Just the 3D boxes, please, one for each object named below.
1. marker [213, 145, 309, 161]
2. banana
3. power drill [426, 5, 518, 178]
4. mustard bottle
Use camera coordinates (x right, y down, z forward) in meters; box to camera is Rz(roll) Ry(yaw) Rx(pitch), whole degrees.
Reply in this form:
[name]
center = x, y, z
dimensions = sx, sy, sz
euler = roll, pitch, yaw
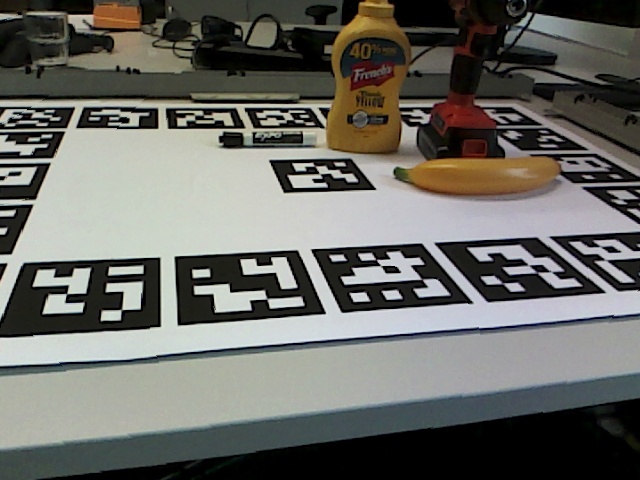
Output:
[marker]
center = -0.075, -0.111, 0.788
dimensions = 0.121, 0.019, 0.020
euler = -2, 32, -11
[banana]
center = 0.177, -0.046, 0.696
dimensions = 0.197, 0.039, 0.074
euler = 0, 32, -5
[power drill]
center = 0.174, -0.173, 0.725
dimensions = 0.057, 0.187, 0.185
euler = 5, 28, -2
[mustard bottle]
center = 0.056, -0.187, 0.764
dimensions = 0.096, 0.191, 0.058
euler = 4, 30, -4
